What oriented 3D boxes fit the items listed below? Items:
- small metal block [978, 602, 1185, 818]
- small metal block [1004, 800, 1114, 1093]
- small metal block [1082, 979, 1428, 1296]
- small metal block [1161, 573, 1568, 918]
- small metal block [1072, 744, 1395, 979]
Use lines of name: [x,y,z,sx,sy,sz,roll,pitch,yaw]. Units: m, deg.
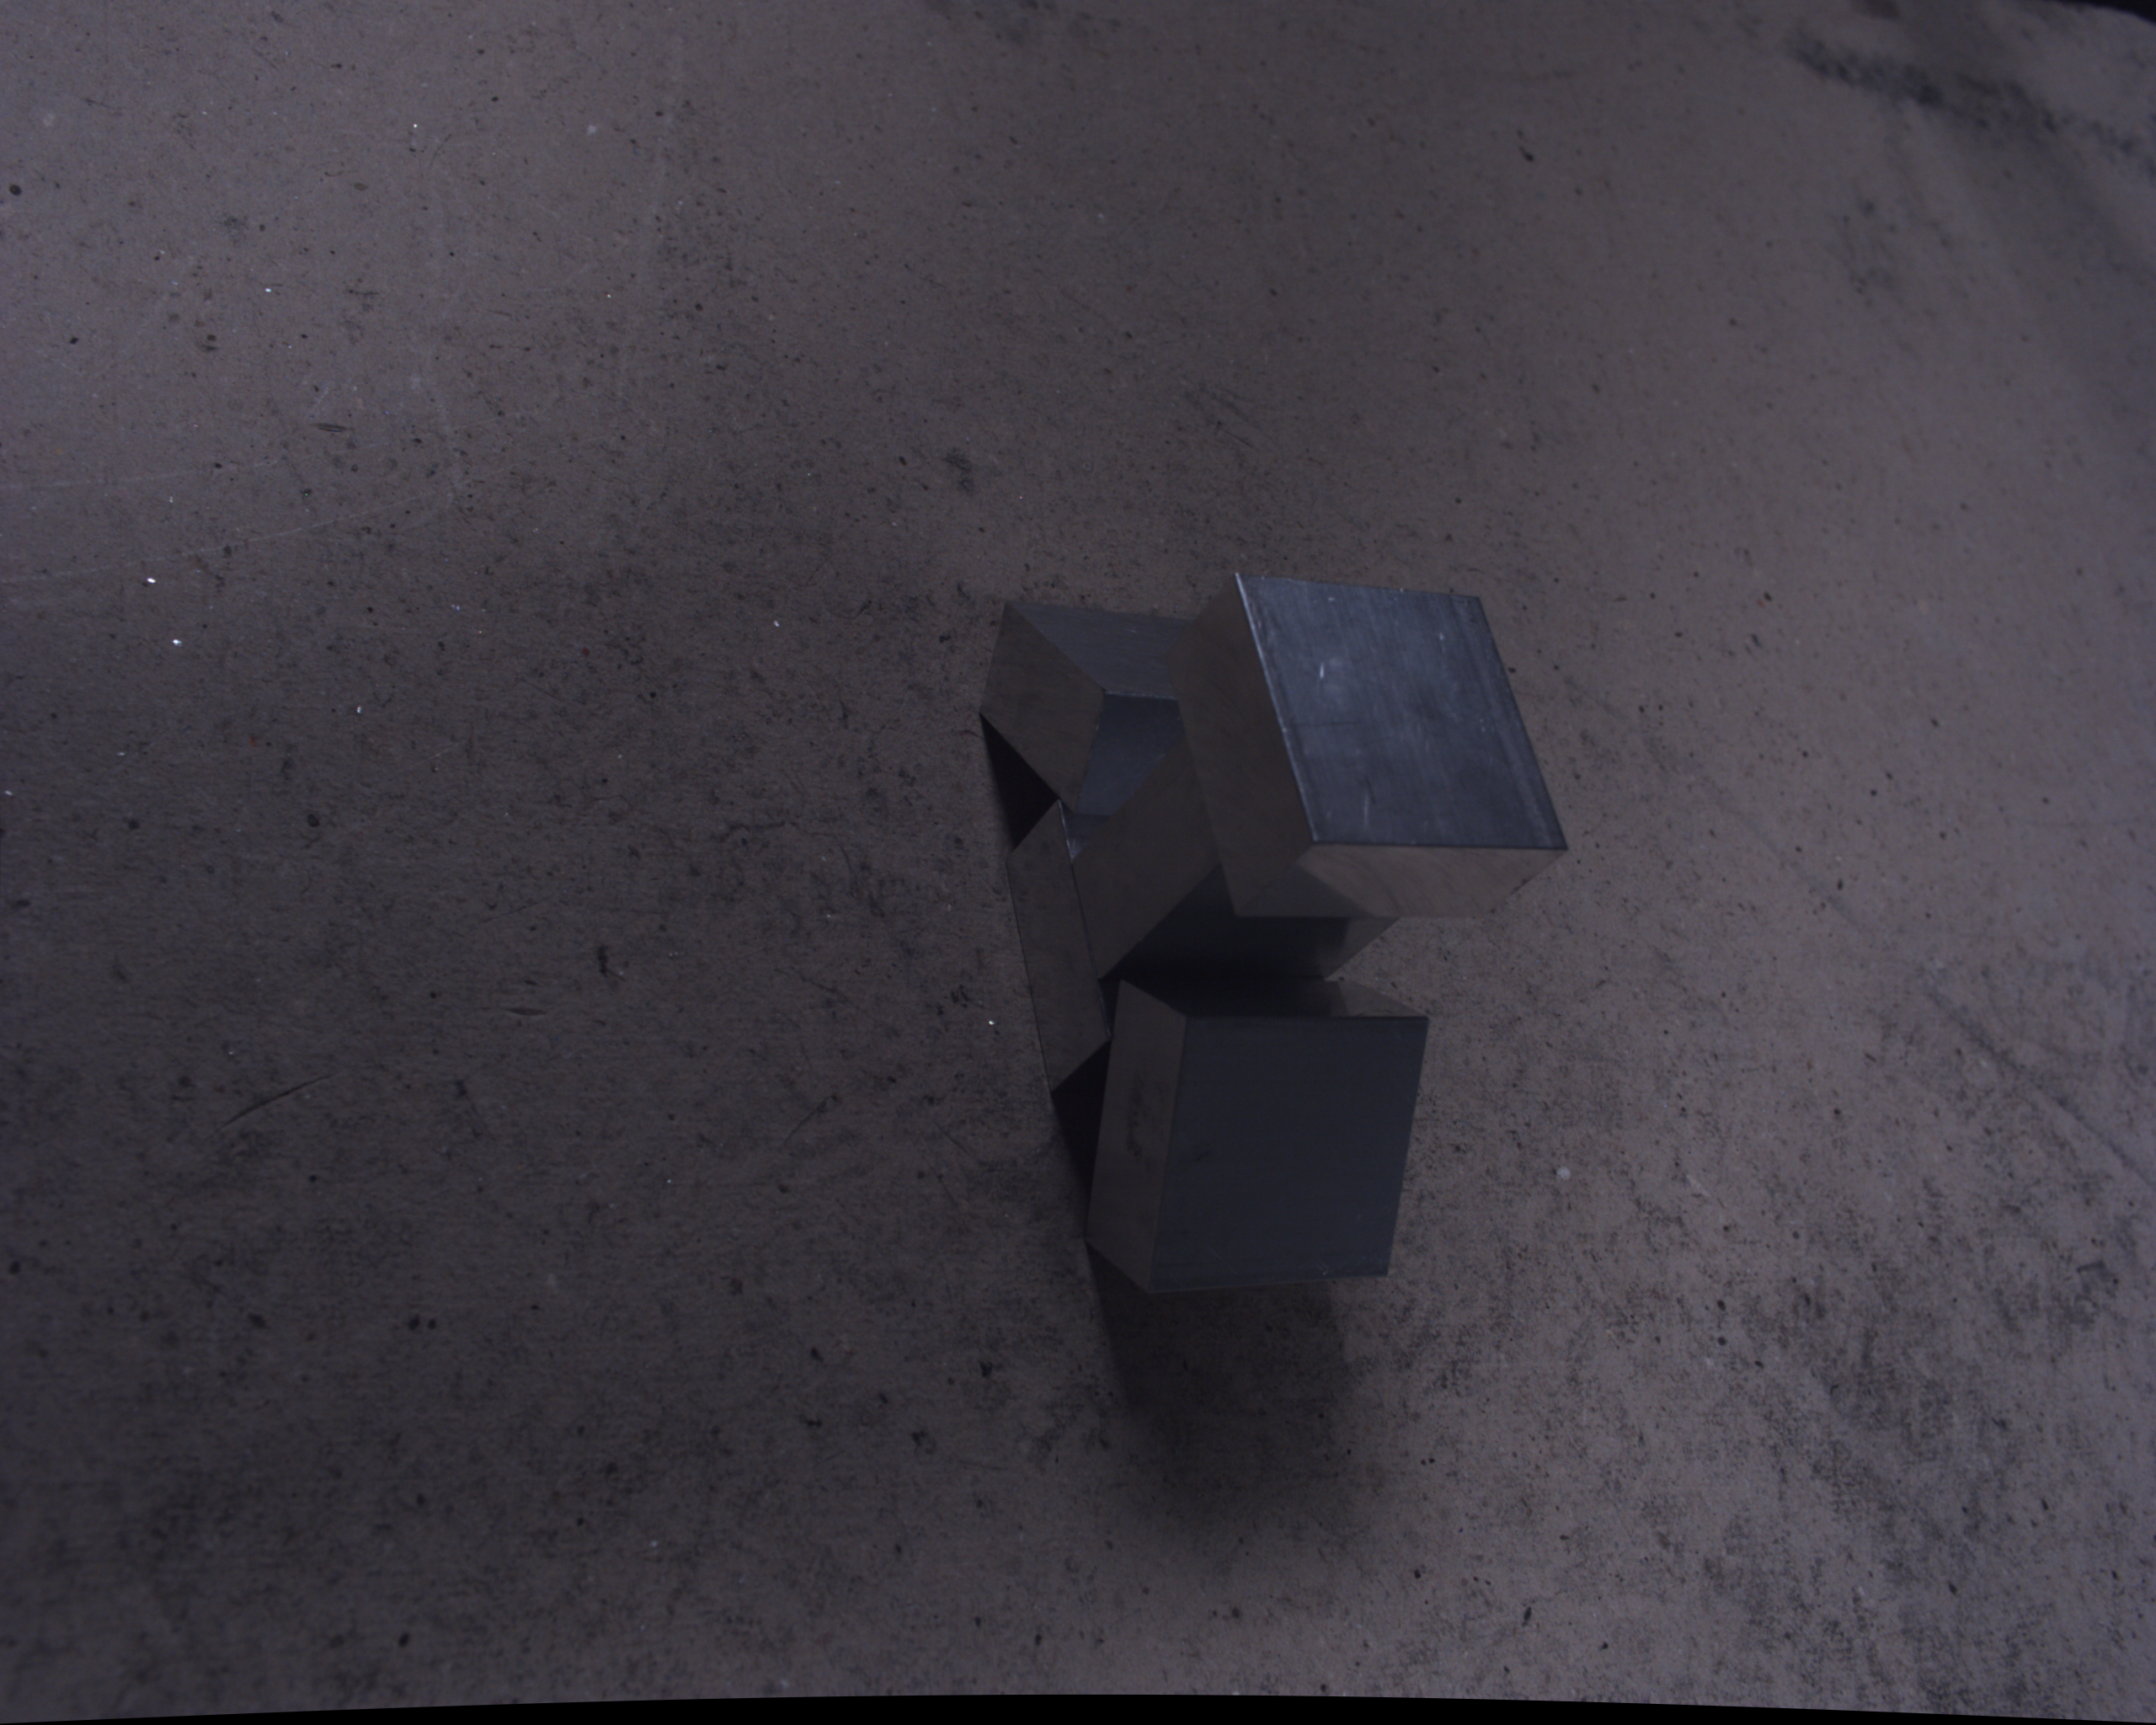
small metal block: [0.015,-0.030,0.417,0.050,0.025,0.050,2,25,-27]
small metal block: [0.018,0.017,0.407,0.050,0.025,0.050,2,61,-27]
small metal block: [0.032,0.049,0.378,0.050,0.025,0.050,2,101,-28]
small metal block: [0.047,-0.019,0.347,0.050,0.025,0.050,1,61,-28]
small metal block: [0.034,-0.001,0.377,0.050,0.050,0.025,2,61,-28]
